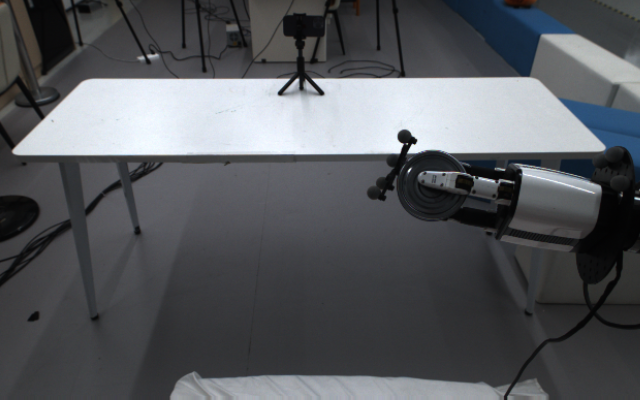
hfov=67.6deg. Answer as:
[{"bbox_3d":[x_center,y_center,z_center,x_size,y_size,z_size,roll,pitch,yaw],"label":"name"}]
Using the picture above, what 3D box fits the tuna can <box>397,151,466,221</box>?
[{"bbox_3d":[0.139,-0.019,0.592,0.085,0.085,0.034,9,-5,10],"label":"tuna can"}]
